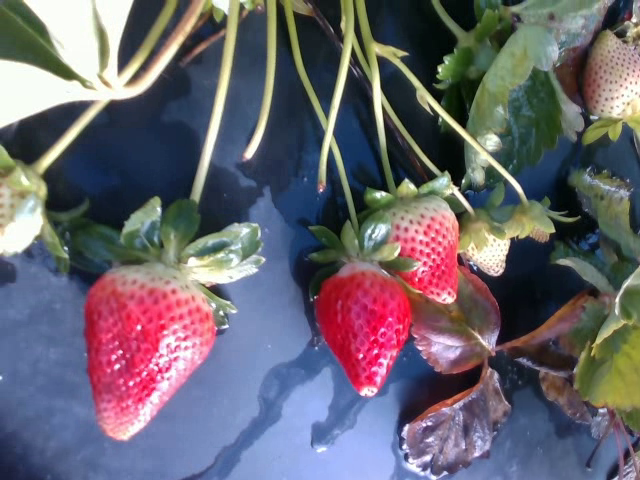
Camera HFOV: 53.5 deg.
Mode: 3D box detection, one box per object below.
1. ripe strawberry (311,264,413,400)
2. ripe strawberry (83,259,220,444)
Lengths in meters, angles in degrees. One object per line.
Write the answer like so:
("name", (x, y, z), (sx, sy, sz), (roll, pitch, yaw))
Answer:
("ripe strawberry", (0.015, 0.038, 0.250), (0.045, 0.055, 0.042), (-6, -24, 11))
("ripe strawberry", (-0.063, 0.039, 0.214), (0.050, 0.065, 0.050), (15, -27, 0))
